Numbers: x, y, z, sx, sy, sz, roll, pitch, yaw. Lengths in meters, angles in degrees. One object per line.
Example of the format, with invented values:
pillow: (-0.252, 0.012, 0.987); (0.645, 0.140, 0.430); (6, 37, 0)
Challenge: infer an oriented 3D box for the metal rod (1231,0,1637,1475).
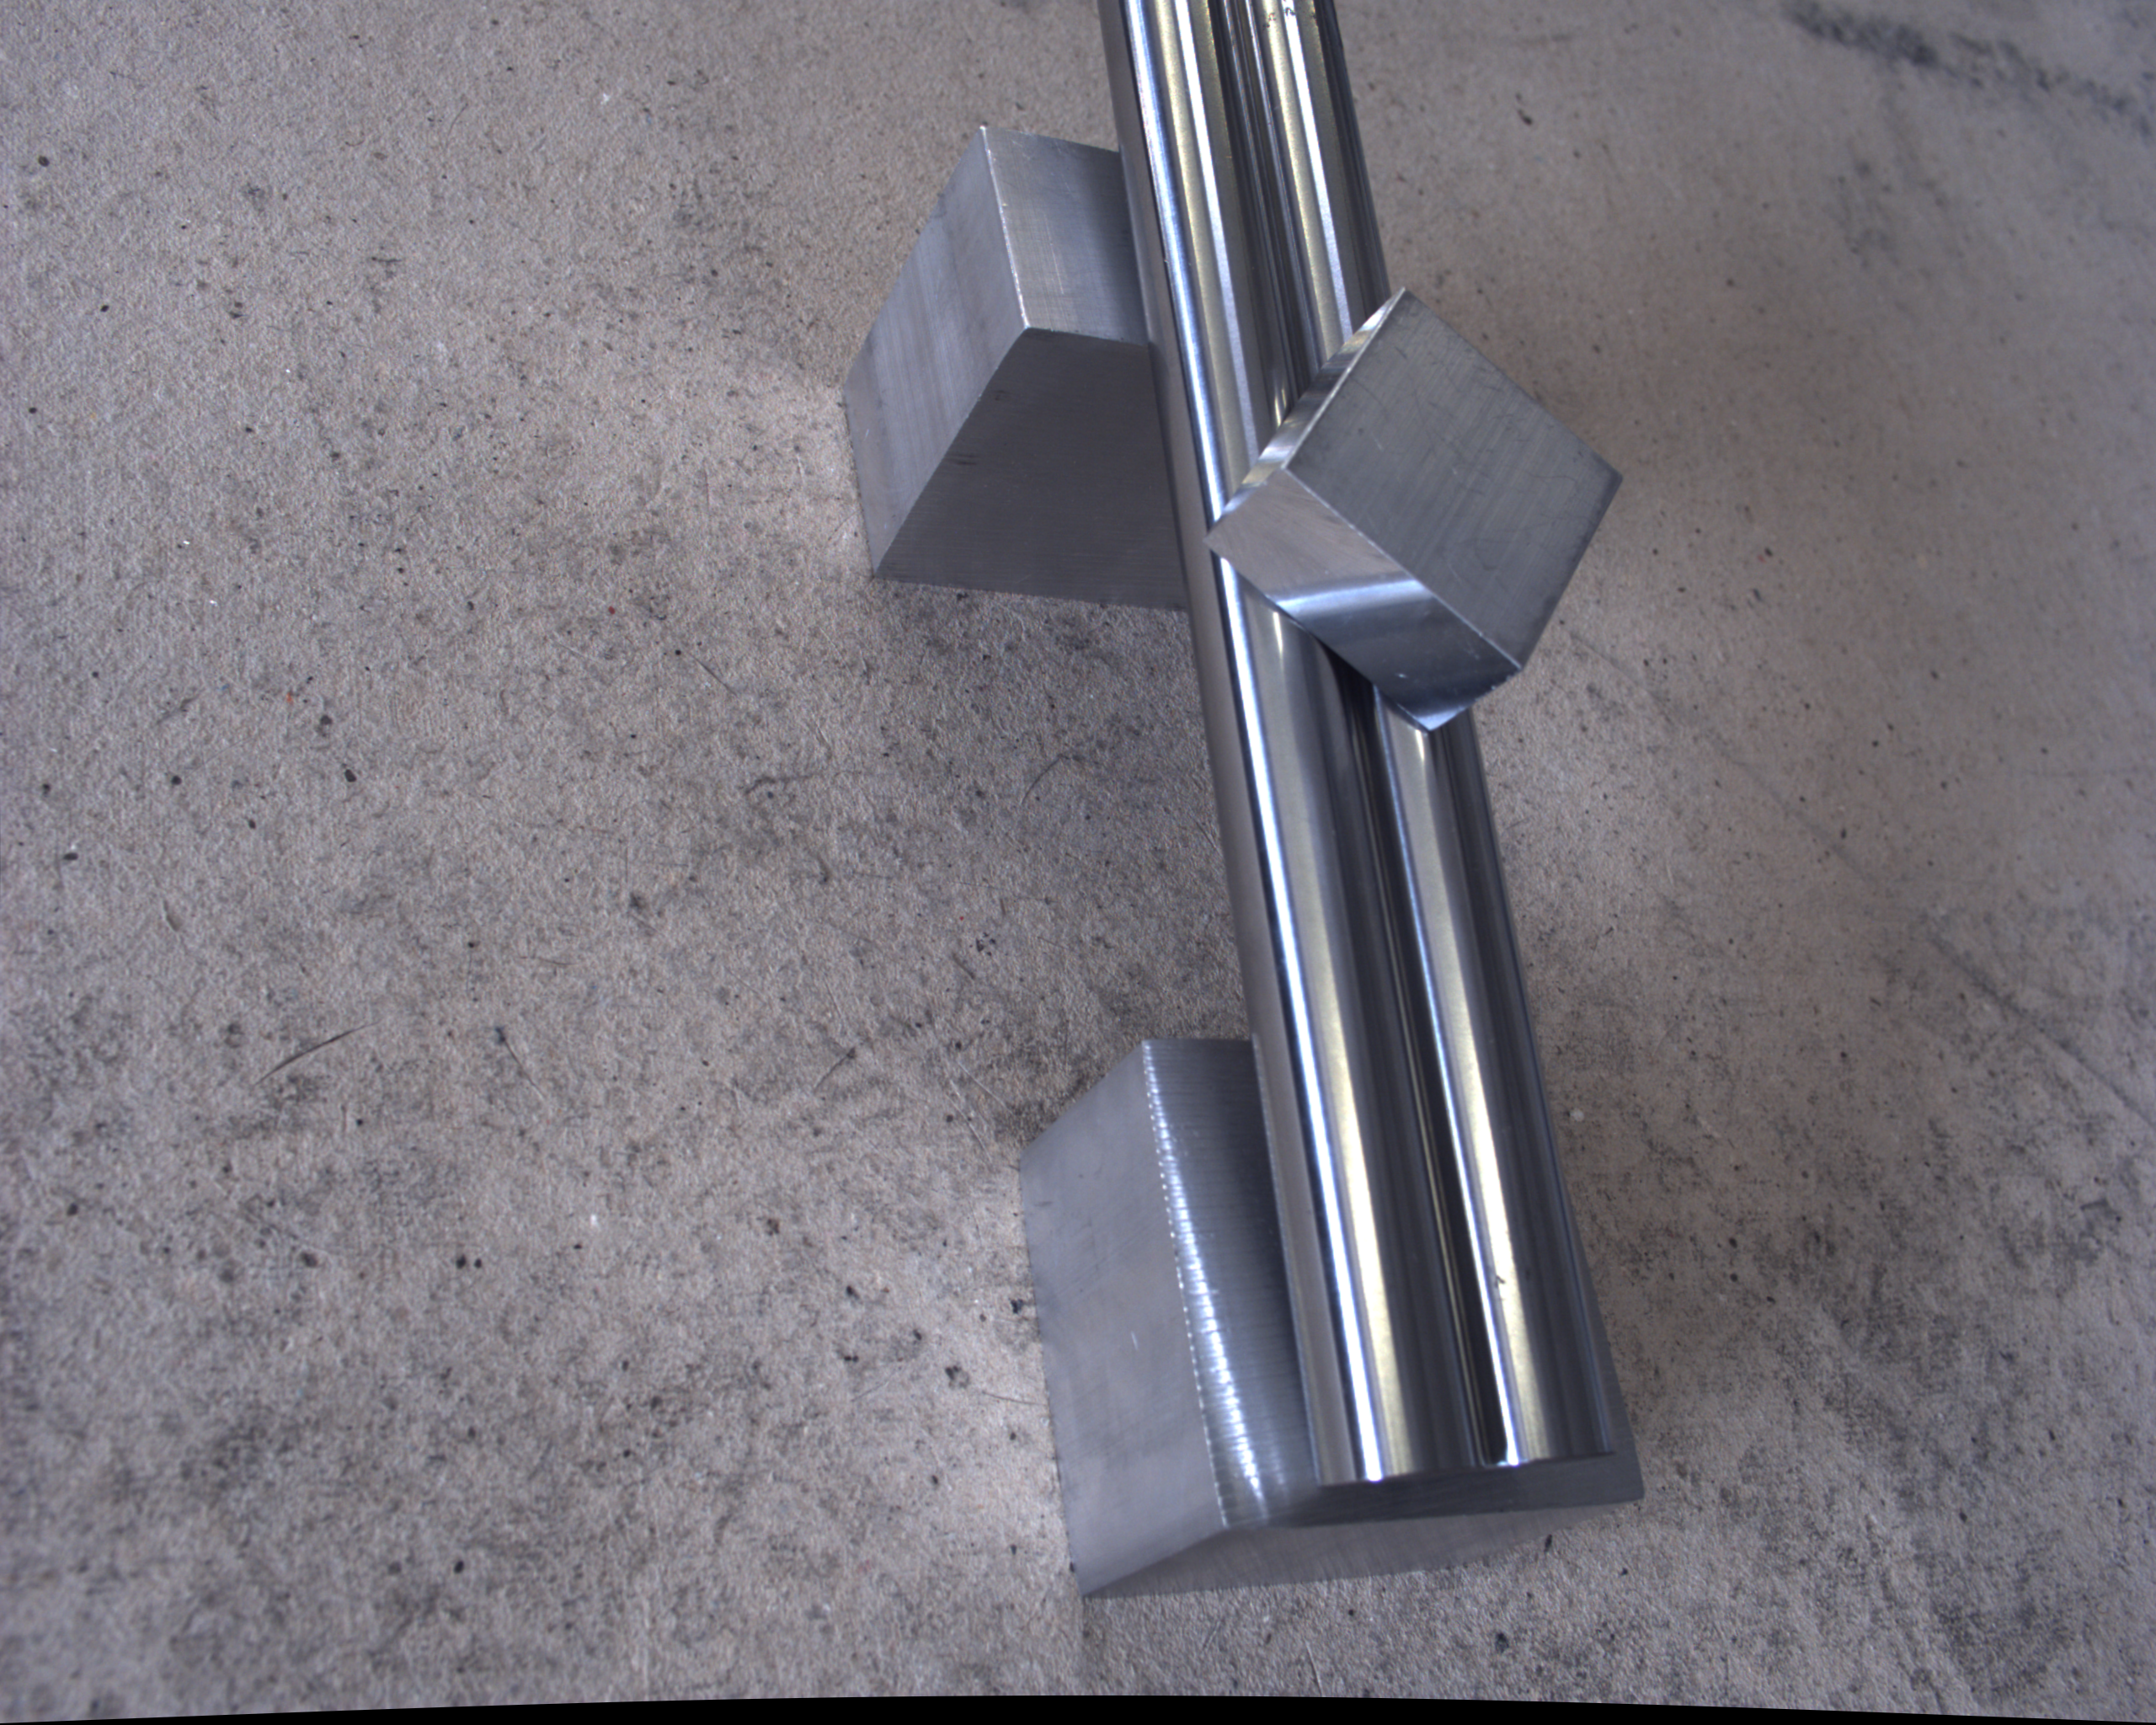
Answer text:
metal rod: (0.055, -0.047, 0.370); (0.025, 0.025, 0.299); (3, 67, -27)

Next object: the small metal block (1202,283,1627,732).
small metal block: (0.057, -0.059, 0.346); (0.050, 0.025, 0.050); (39, 56, -9)

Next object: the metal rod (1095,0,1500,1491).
metal rod: (0.031, -0.048, 0.358); (0.025, 0.025, 0.299); (3, 67, -27)

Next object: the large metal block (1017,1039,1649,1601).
large metal block: (0.041, 0.079, 0.362); (0.081, 0.050, 0.080); (5, 60, -26)

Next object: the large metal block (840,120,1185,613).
large metal block: (0.005, -0.098, 0.432); (0.081, 0.080, 0.050); (3, 61, -27)
